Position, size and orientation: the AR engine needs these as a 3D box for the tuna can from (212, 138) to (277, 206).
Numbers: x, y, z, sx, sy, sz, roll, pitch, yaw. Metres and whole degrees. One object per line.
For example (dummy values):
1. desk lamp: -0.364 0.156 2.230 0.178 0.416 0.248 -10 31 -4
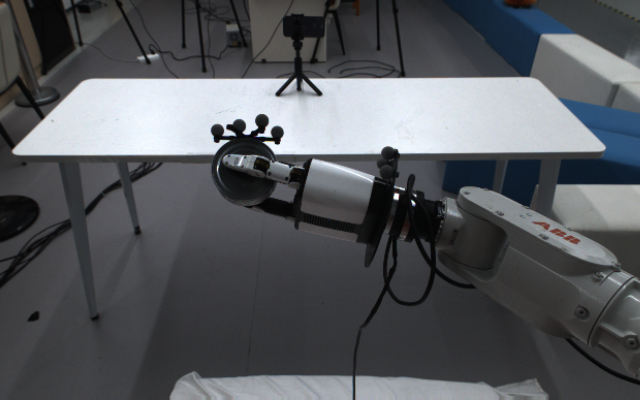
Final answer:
1. tuna can: -0.093 -0.037 0.632 0.085 0.034 0.085 1 70 -3
